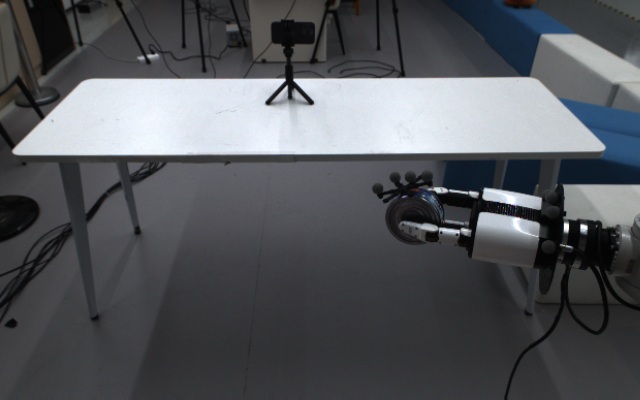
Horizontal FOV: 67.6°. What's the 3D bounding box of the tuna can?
[{"bbox_3d":[0.146,0.024,0.741,0.085,0.085,0.034,15,30,17],"label":"tuna can"}]
